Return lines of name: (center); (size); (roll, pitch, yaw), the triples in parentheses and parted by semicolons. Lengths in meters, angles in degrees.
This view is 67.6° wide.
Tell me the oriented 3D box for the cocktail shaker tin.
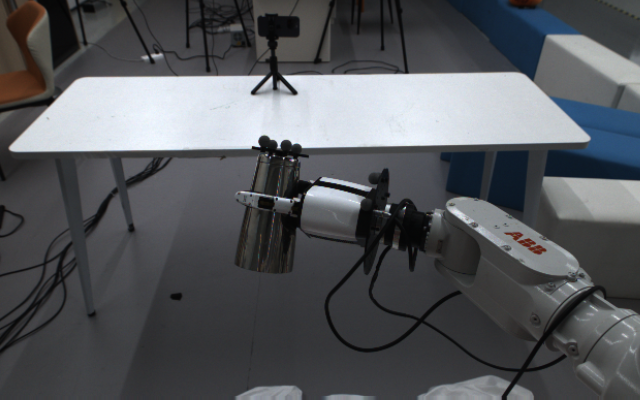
cocktail shaker tin: (-0.074, 0.019, 0.744); (0.093, 0.170, 0.093); (9, 3, 0)
